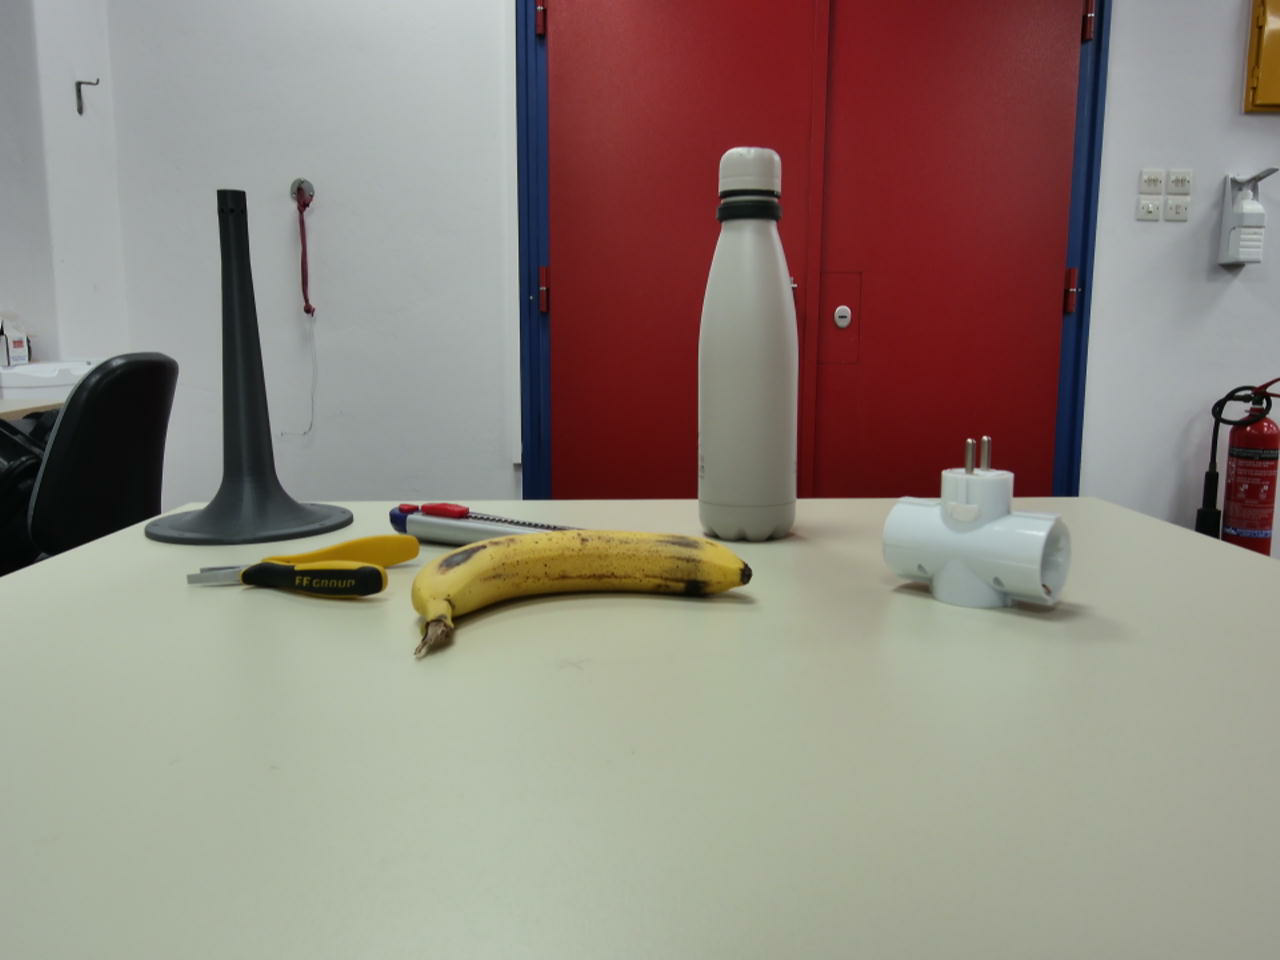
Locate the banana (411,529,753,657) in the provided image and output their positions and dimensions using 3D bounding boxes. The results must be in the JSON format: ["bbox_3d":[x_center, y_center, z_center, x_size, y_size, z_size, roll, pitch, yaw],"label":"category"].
[{"bbox_3d":[-0.040,0.052,0.542,0.186,0.038,0.097,-4,7,-29],"label":"banana"}]
